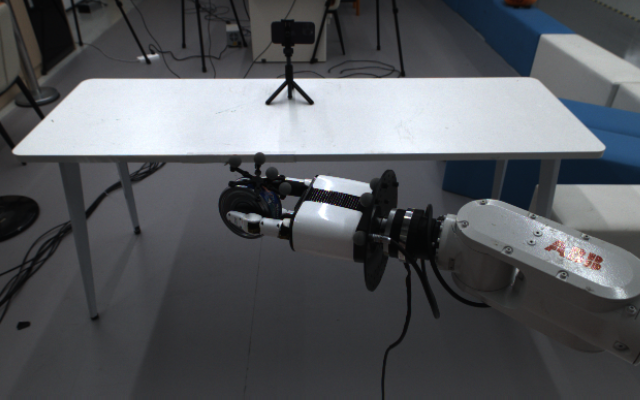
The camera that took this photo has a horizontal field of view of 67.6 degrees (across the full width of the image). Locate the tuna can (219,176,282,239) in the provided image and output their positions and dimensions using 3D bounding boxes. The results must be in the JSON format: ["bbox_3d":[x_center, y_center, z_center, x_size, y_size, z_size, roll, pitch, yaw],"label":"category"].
[{"bbox_3d":[-0.096,0.018,0.678,0.085,0.085,0.034,15,31,18],"label":"tuna can"}]
